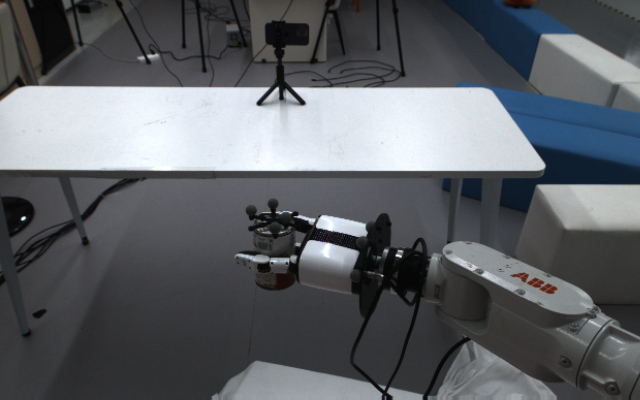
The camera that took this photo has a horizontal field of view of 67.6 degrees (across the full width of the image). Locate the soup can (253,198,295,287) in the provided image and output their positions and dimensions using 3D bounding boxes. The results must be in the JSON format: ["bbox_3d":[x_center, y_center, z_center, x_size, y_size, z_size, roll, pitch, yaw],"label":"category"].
[{"bbox_3d":[-0.071,0.084,0.767,0.067,0.101,0.067,1,25,0],"label":"soup can"}]
